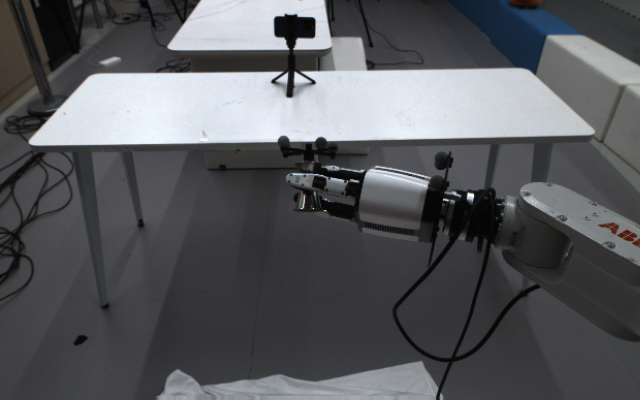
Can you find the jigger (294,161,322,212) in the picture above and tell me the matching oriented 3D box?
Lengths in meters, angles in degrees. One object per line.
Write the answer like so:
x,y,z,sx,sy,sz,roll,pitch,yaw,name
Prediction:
-0.017,-0.018,0.688,0.043,0.071,0.043,1,-5,0,jigger
